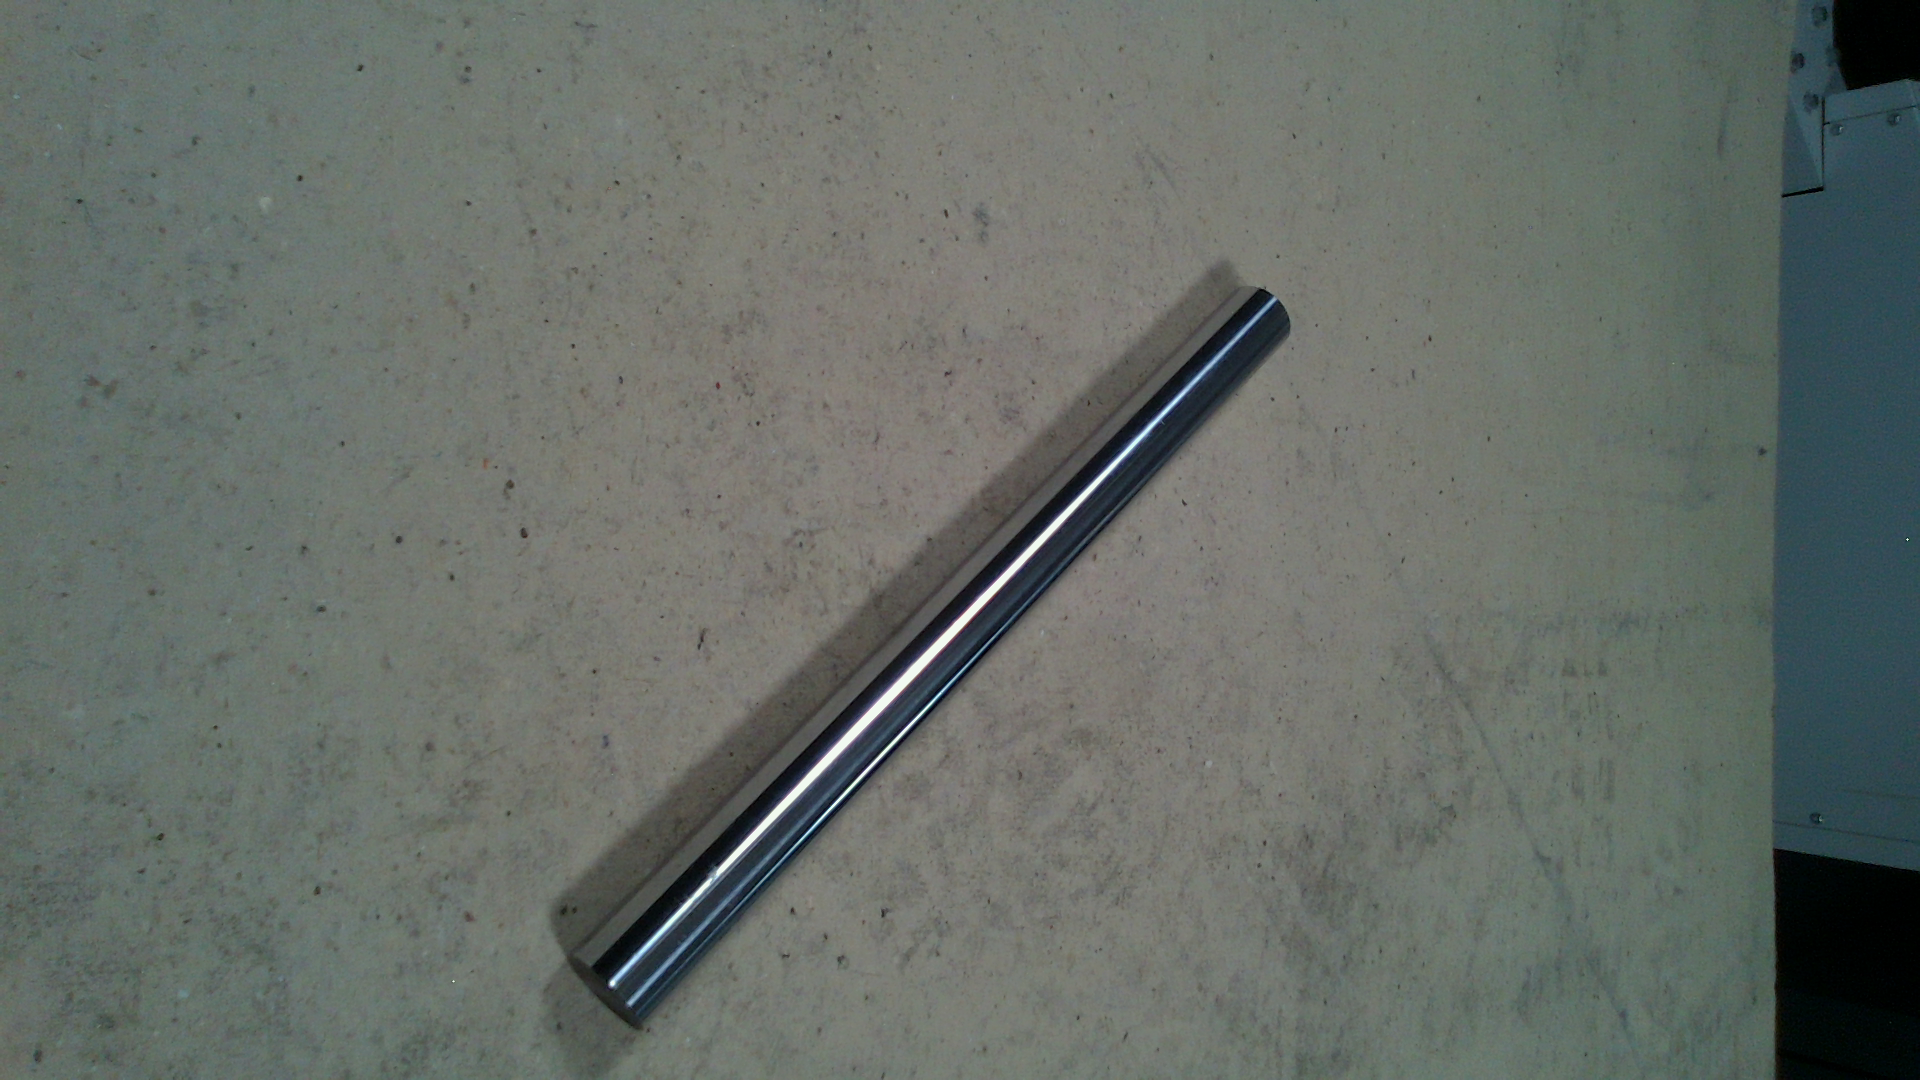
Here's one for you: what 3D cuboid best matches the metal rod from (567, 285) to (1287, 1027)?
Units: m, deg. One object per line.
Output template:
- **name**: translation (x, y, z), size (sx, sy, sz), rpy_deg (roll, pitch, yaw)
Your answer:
- **metal rod**: translation (0.009, 0.014, 0.397), size (0.301, 0.025, 0.025), rpy_deg (-45, 117, -31)
